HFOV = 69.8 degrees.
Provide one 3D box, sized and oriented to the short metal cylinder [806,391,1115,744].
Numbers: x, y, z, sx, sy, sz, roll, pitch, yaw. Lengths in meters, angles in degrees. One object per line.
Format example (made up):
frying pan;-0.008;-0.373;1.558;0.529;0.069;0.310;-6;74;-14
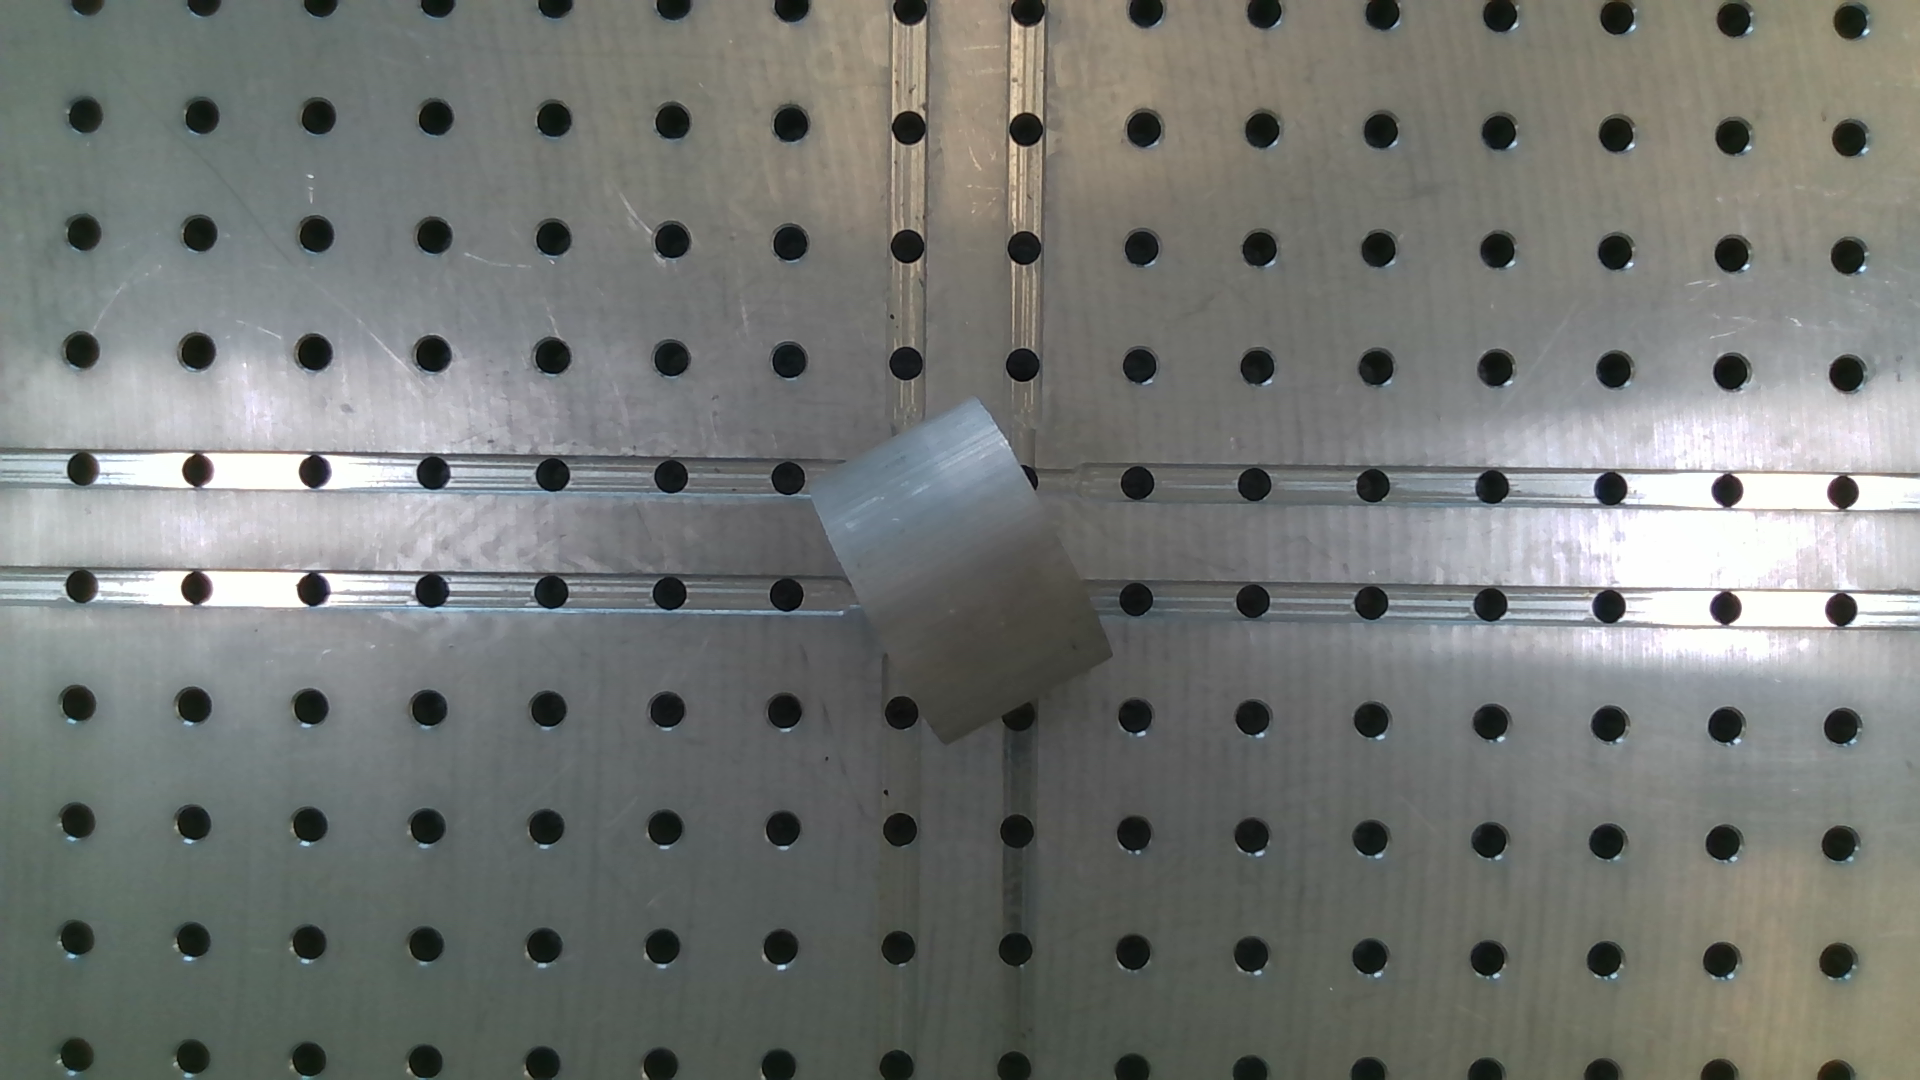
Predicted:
short metal cylinder;0.000;0.007;0.369;0.050;0.080;0.080;-28;90;-1
